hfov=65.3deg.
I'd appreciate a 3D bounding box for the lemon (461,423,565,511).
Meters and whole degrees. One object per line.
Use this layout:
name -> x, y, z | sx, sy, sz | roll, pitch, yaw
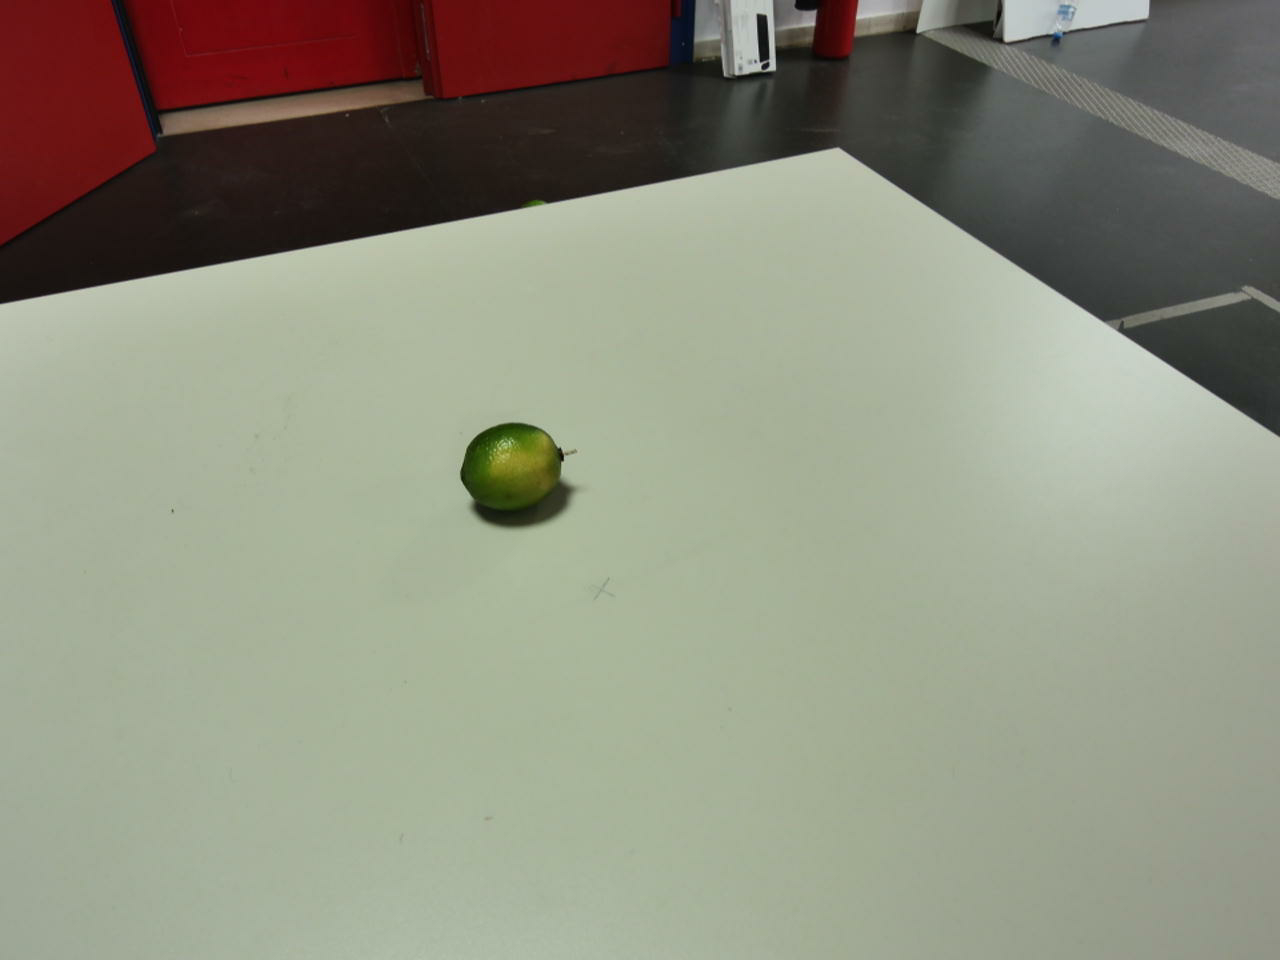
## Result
lemon -> -0.075, -0.007, 0.587 | 0.055, 0.050, 0.054 | 18, 41, 19
